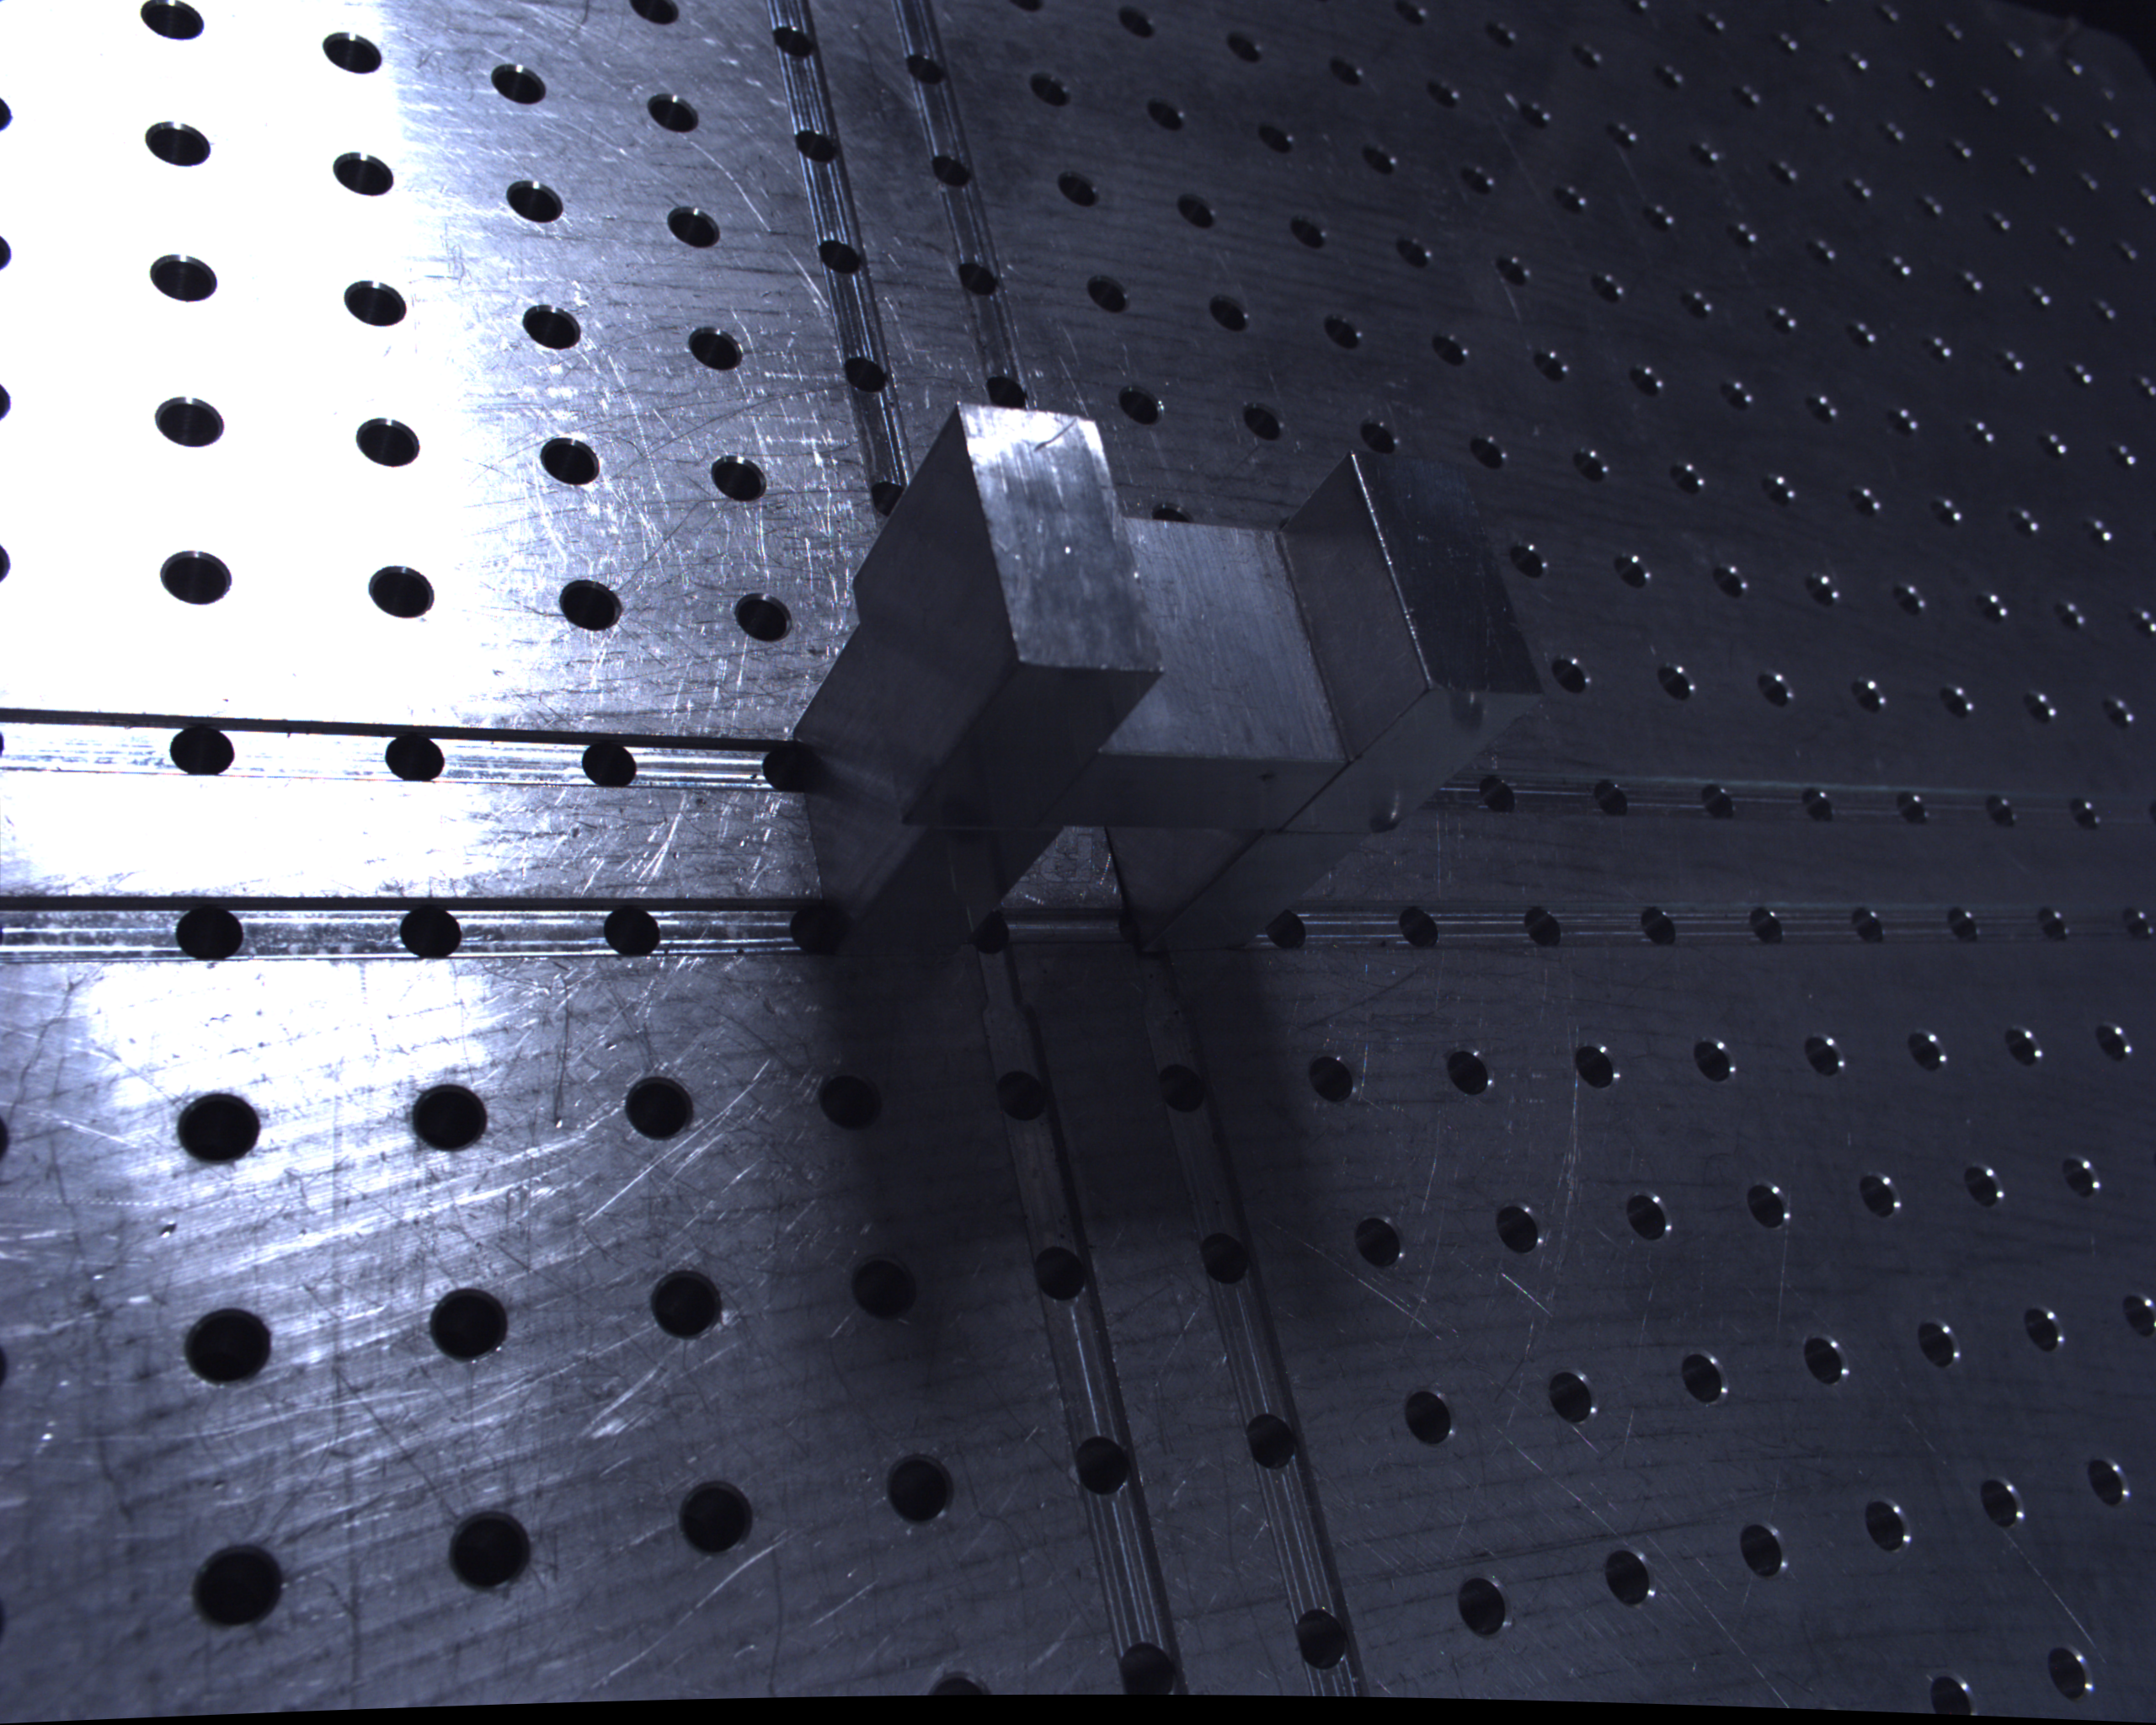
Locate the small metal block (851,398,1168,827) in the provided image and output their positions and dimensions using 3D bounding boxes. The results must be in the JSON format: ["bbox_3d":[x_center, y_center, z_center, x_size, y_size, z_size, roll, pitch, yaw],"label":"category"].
[{"bbox_3d":[-0.013,-0.040,0.345,0.025,0.050,0.050,0,61,-28],"label":"small metal block"}]

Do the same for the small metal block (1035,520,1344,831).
[{"bbox_3d":[0.014,-0.034,0.374,0.050,0.025,0.050,1,61,-28],"label":"small metal block"}]

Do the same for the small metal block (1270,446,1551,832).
[{"bbox_3d":[0.054,-0.040,0.381,0.025,0.050,0.050,0,61,-28],"label":"small metal block"}]

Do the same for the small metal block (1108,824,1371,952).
[{"bbox_3d":[0.028,-0.016,0.418,0.025,0.050,0.050,-1,62,-29],"label":"small metal block"}]

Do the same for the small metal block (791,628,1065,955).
[{"bbox_3d":[-0.029,-0.016,0.387,0.025,0.050,0.050,1,62,-28],"label":"small metal block"}]
